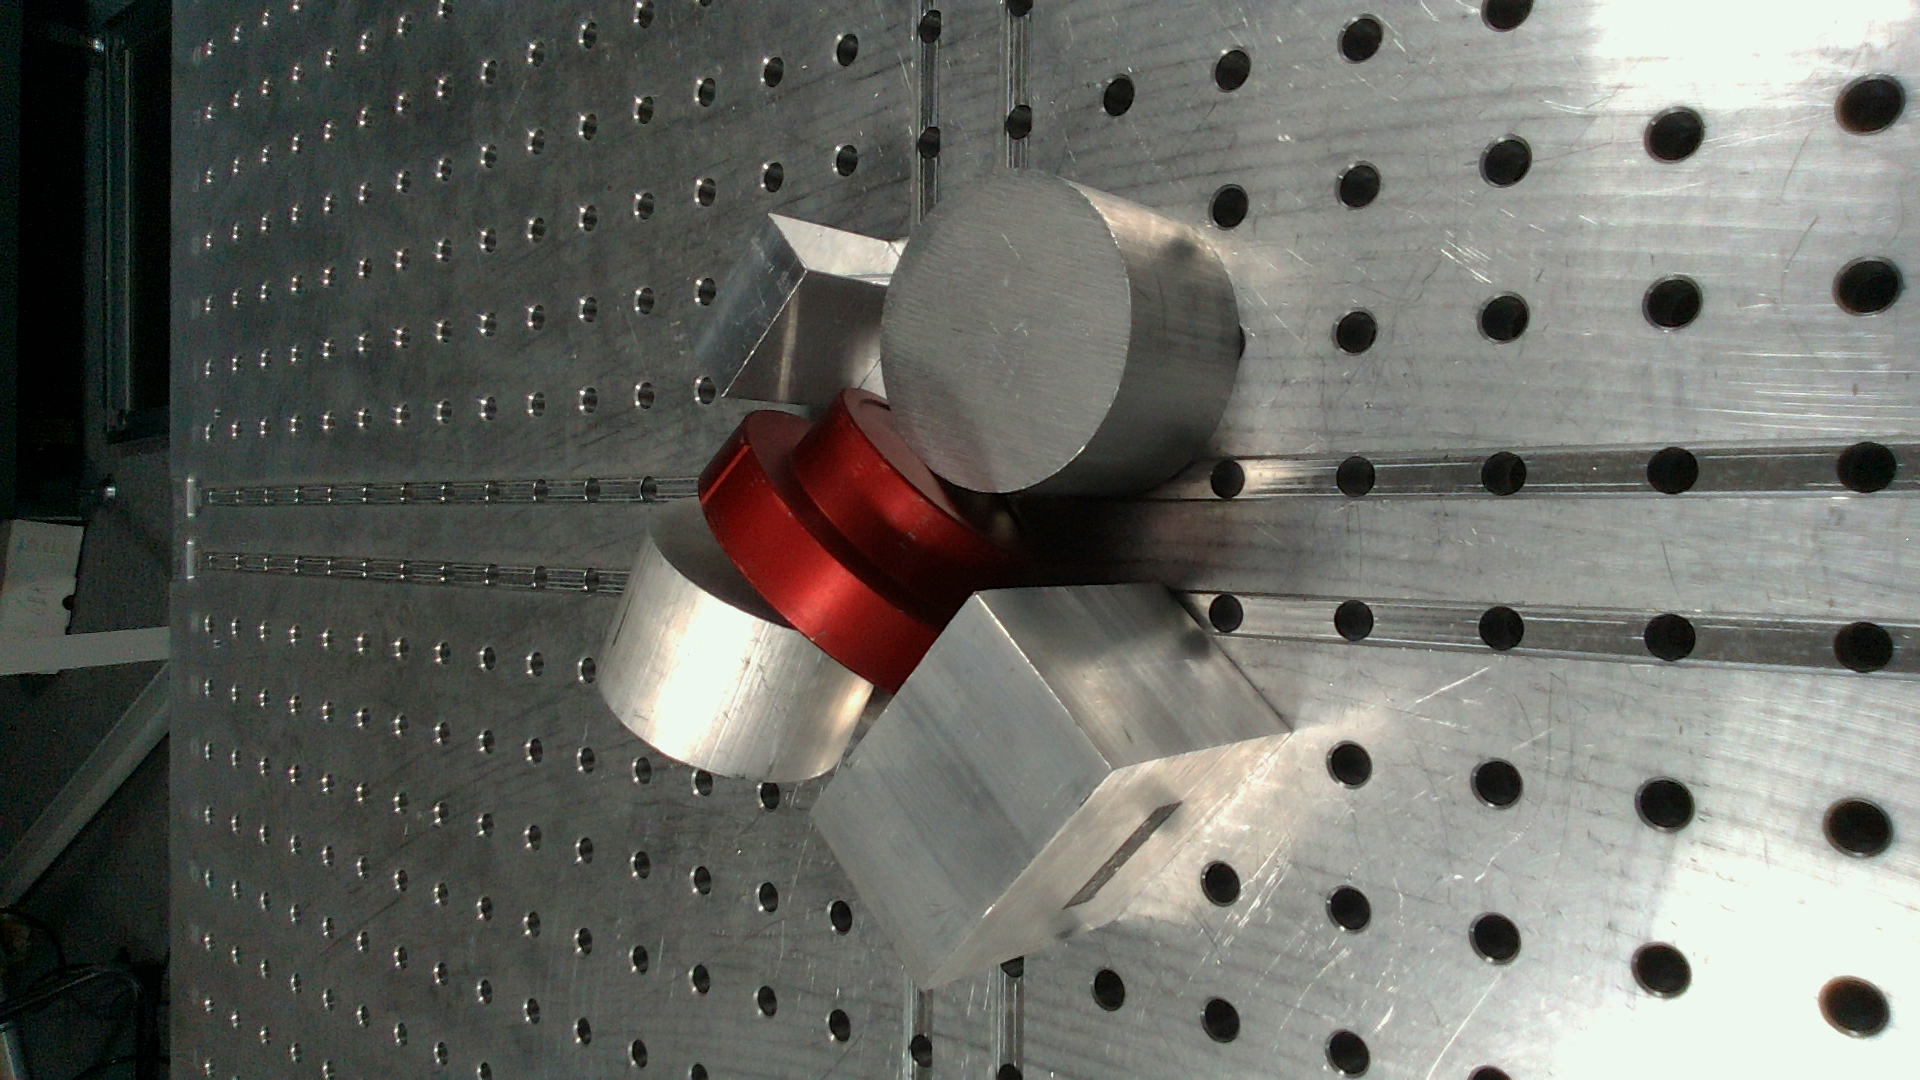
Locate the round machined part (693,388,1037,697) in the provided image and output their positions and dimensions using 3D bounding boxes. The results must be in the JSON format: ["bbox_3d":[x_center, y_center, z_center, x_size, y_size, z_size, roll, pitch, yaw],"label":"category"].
[{"bbox_3d":[-0.018,-0.003,0.366,0.042,0.098,0.098,-50,60,15],"label":"round machined part"}]

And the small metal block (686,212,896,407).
[{"bbox_3d":[-0.047,-0.068,0.421,0.050,0.050,0.025,-50,60,28],"label":"small metal block"}]

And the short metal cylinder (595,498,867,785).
[{"bbox_3d":[-0.063,0.029,0.414,0.080,0.080,0.050,38,114,34],"label":"short metal cylinder"}]

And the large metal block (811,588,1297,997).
[{"bbox_3d":[0.024,0.059,0.343,0.050,0.080,0.080,51,120,28],"label":"large metal block"}]

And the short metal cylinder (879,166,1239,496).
[{"bbox_3d":[0.025,-0.052,0.360,0.080,0.050,0.080,0,90,40],"label":"short metal cylinder"}]
